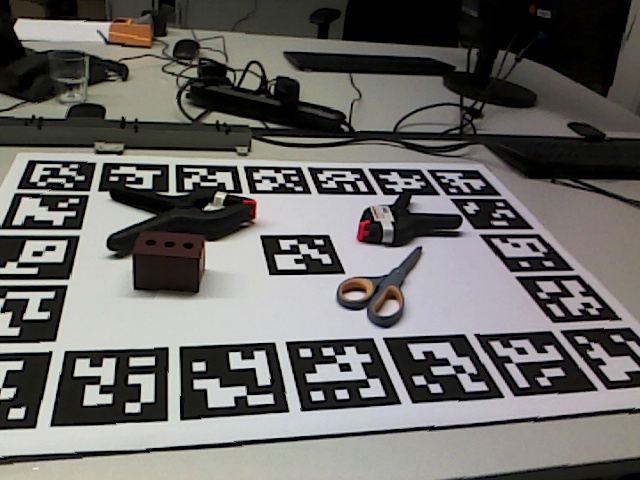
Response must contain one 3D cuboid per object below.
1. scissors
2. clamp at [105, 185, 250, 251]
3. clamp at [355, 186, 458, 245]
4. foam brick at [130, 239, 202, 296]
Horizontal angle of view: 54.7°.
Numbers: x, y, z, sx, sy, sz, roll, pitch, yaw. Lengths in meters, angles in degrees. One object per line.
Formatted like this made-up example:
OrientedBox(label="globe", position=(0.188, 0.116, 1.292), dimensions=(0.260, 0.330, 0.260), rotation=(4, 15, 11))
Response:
OrientedBox(label="scissors", position=(0.087, 0.051, 0.816), dimensions=(0.088, 0.016, 0.202), rotation=(27, 34, 15))
OrientedBox(label="clamp", position=(-0.200, -0.036, 0.879), dimensions=(0.202, 0.036, 0.166), rotation=(-2, 30, -17))
OrientedBox(label="clamp", position=(0.118, -0.031, 0.948), dimensions=(0.164, 0.036, 0.122), rotation=(-19, 48, -36))
OrientedBox(label="foam brick", position=(-0.188, 0.034, 0.760), dimensions=(0.078, 0.051, 0.053), rotation=(0, 34, -4))
